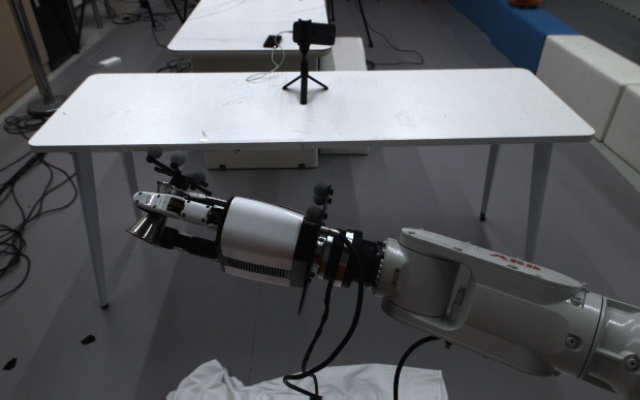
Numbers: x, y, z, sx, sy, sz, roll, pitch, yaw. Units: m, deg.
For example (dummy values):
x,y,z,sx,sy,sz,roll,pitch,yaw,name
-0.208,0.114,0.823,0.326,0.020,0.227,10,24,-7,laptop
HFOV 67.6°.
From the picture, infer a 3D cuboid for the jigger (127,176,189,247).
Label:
x,y,z,sx,sy,sz,roll,pitch,yaw,name
-0.189,0.015,0.563,0.043,0.043,0.071,20,73,23,jigger
